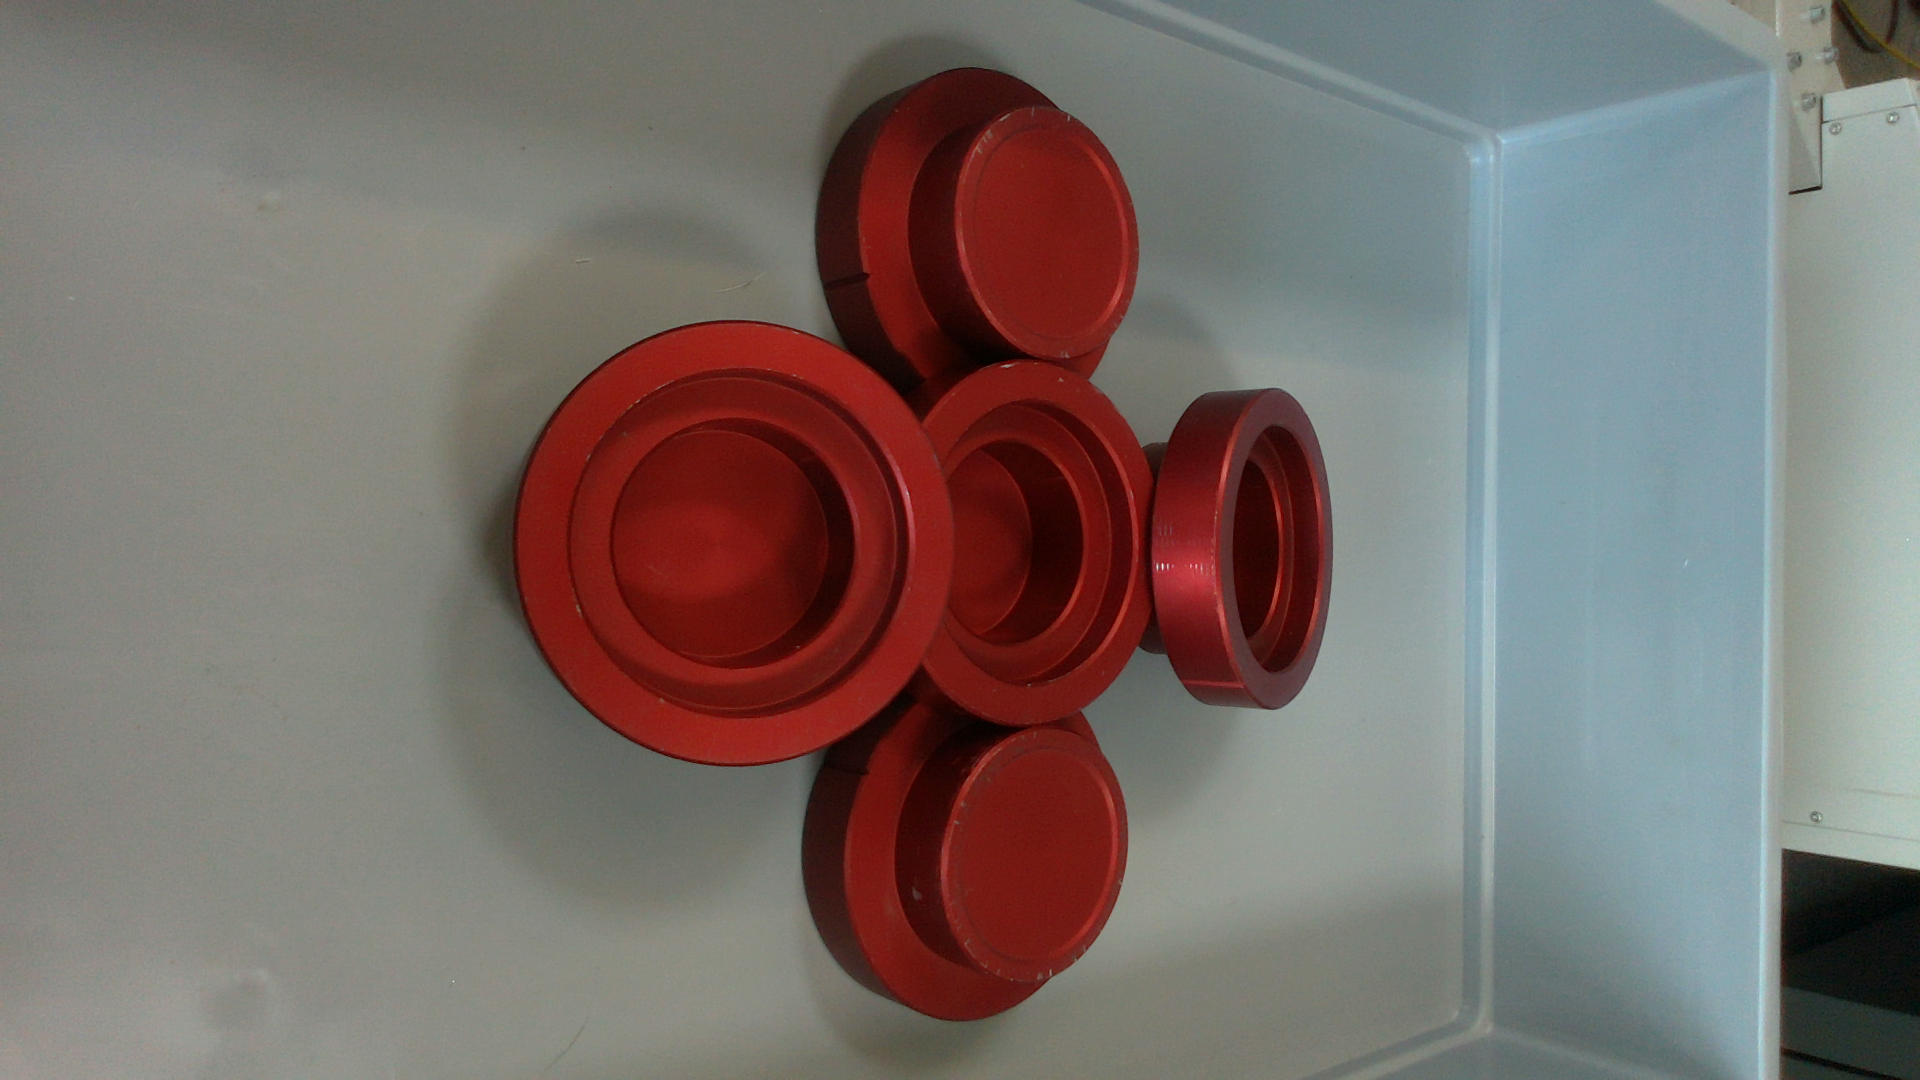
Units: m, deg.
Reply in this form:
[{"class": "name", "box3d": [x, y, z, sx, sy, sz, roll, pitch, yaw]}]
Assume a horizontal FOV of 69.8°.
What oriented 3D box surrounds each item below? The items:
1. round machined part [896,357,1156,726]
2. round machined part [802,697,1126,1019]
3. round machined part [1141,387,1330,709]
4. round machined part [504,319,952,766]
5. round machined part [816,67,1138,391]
[{"class": "round machined part", "box3d": [0.008, 0.000, 0.382, 0.098, 0.042, 0.098, 0, 90, -40]}, {"class": "round machined part", "box3d": [0.008, 0.083, 0.383, 0.098, 0.042, 0.098, 0, 90, -40]}, {"class": "round machined part", "box3d": [0.080, 0.002, 0.432, 0.098, 0.042, 0.098, -1, 91, -56]}, {"class": "round machined part", "box3d": [-0.055, 0.001, 0.320, 0.098, 0.042, 0.098, 0, 90, -22]}, {"class": "round machined part", "box3d": [0.012, -0.083, 0.386, 0.098, 0.042, 0.098, 0, 90, -40]}]
